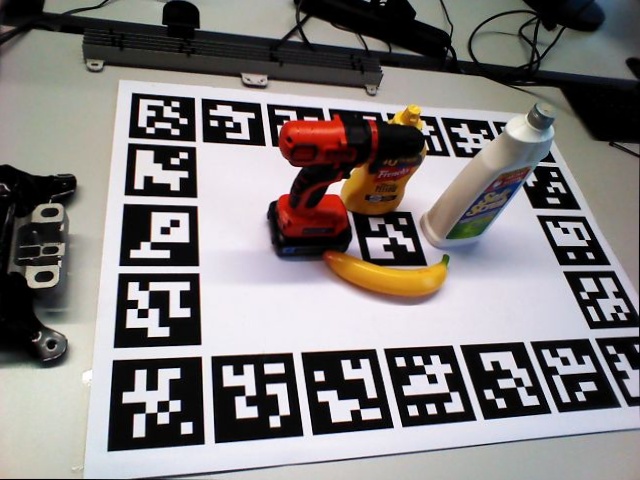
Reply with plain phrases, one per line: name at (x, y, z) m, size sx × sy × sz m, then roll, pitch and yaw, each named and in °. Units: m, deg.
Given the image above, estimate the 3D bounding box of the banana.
banana at (0.117, 0.046, 0.726) m, size 0.197 × 0.039 × 0.074 m, roll 3°, pitch 60°, yaw -12°

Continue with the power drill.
power drill at (0.025, -0.076, 0.666) m, size 0.184 × 0.188 × 0.057 m, roll 0°, pitch 50°, yaw -19°

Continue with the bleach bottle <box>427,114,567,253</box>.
bleach bottle at (0.249, -0.075, 0.727) m, size 0.102 × 0.252 × 0.067 m, roll -6°, pitch 60°, yaw -20°

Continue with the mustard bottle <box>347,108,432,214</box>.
mustard bottle at (0.111, -0.114, 0.740) m, size 0.096 × 0.193 × 0.058 m, roll 2°, pitch 56°, yaw -16°
